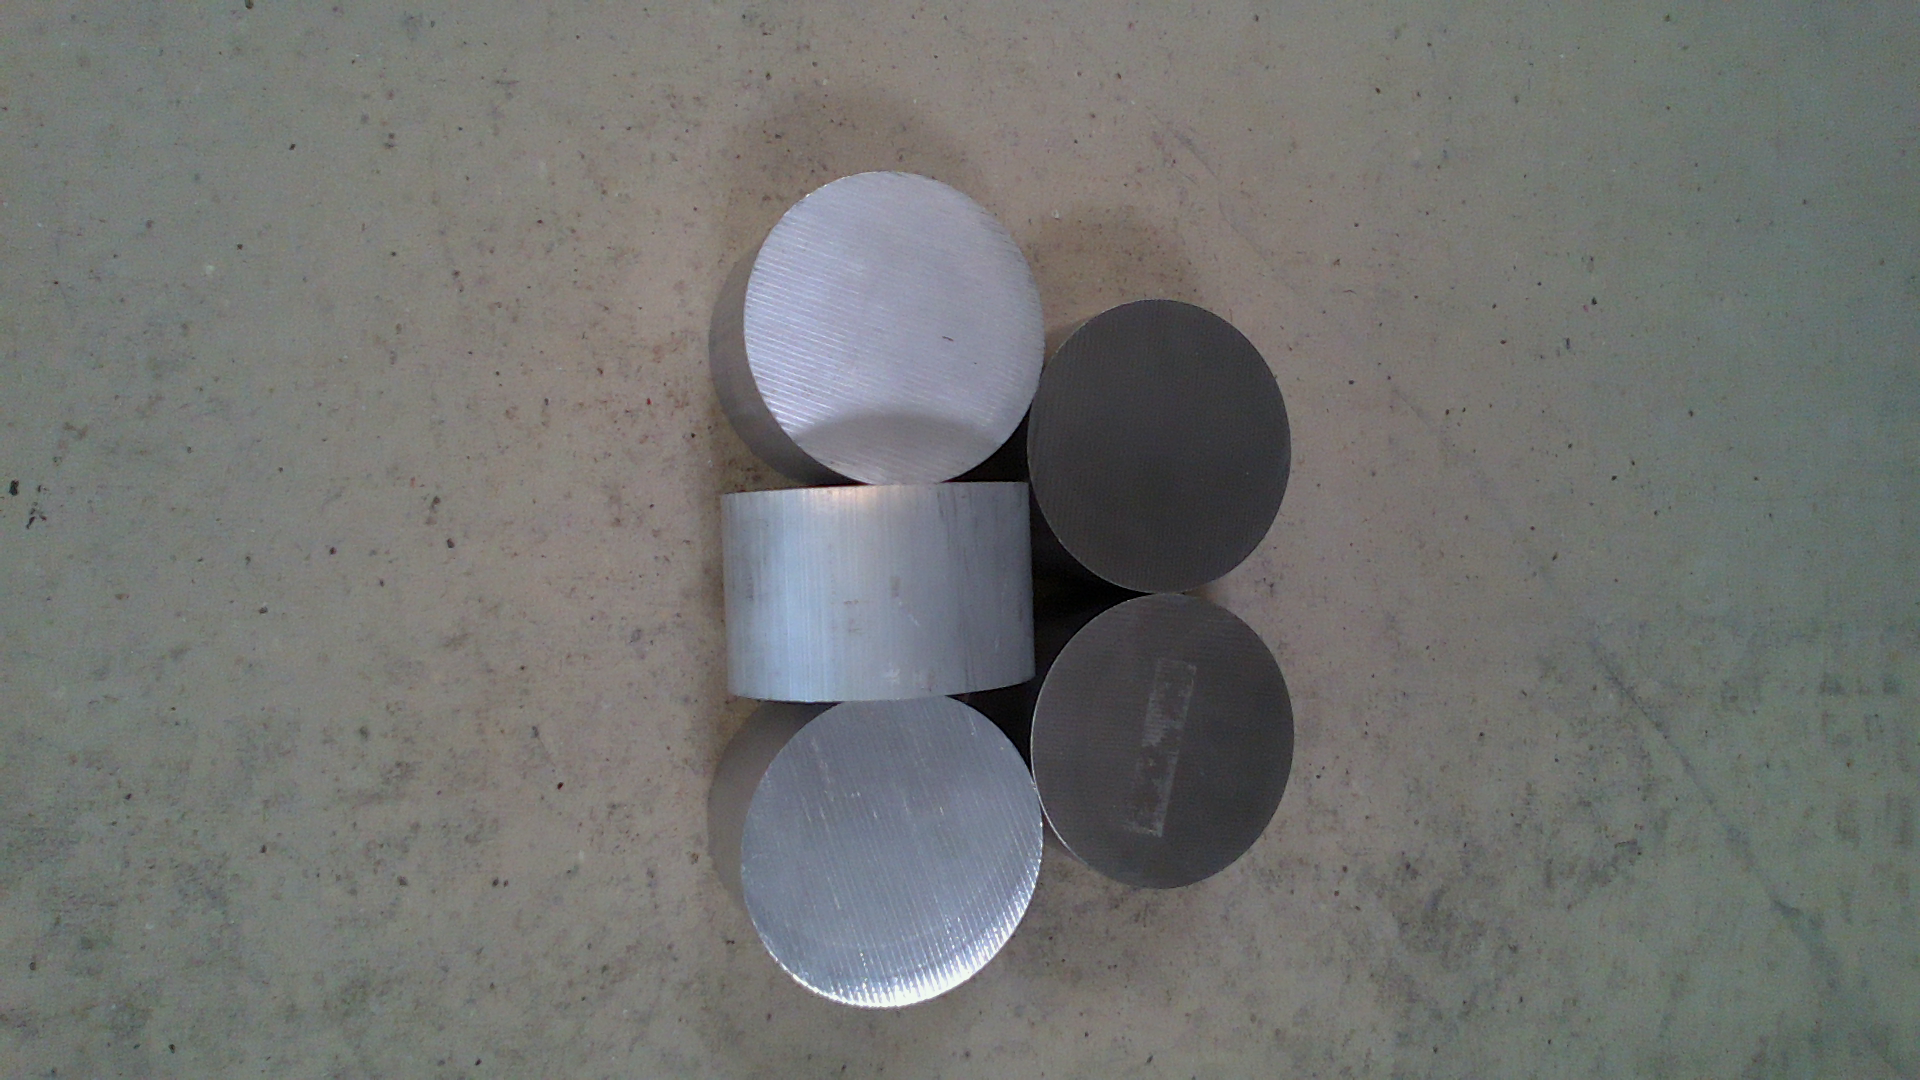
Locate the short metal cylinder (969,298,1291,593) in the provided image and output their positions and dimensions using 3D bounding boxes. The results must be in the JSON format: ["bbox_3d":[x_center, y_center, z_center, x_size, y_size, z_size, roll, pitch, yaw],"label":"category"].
[{"bbox_3d":[0.047,-0.026,0.397,0.080,0.050,0.080,0,91,-20],"label":"short metal cylinder"}]

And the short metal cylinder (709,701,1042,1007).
[{"bbox_3d":[-0.024,0.078,0.371,0.080,0.050,0.080,0,90,-19],"label":"short metal cylinder"}]

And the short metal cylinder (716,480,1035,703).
[{"bbox_3d":[-0.022,0.011,0.356,0.080,0.080,0.050,-3,91,-20],"label":"short metal cylinder"}]

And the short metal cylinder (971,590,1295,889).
[{"bbox_3d":[0.048,0.055,0.397,0.080,0.050,0.080,0,91,-19],"label":"short metal cylinder"}]

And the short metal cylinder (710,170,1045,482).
[{"bbox_3d":[-0.024,-0.054,0.371,0.080,0.050,0.080,0,90,-19],"label":"short metal cylinder"}]
